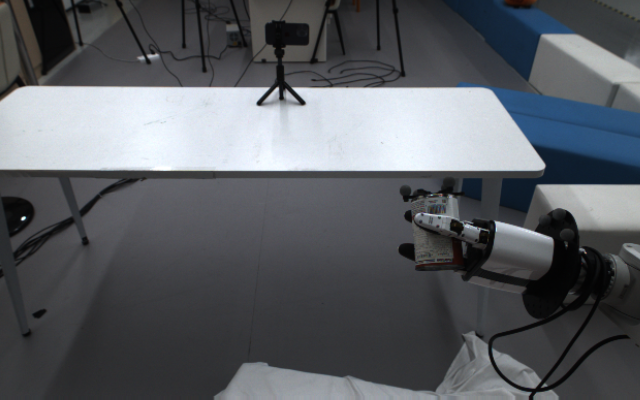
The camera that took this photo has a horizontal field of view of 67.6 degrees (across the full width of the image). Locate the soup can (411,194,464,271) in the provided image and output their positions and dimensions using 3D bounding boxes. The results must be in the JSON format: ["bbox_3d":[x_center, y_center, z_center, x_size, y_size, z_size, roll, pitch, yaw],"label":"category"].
[{"bbox_3d":[0.169,0.047,0.690,0.067,0.067,0.101,-2,76,-5],"label":"soup can"}]
